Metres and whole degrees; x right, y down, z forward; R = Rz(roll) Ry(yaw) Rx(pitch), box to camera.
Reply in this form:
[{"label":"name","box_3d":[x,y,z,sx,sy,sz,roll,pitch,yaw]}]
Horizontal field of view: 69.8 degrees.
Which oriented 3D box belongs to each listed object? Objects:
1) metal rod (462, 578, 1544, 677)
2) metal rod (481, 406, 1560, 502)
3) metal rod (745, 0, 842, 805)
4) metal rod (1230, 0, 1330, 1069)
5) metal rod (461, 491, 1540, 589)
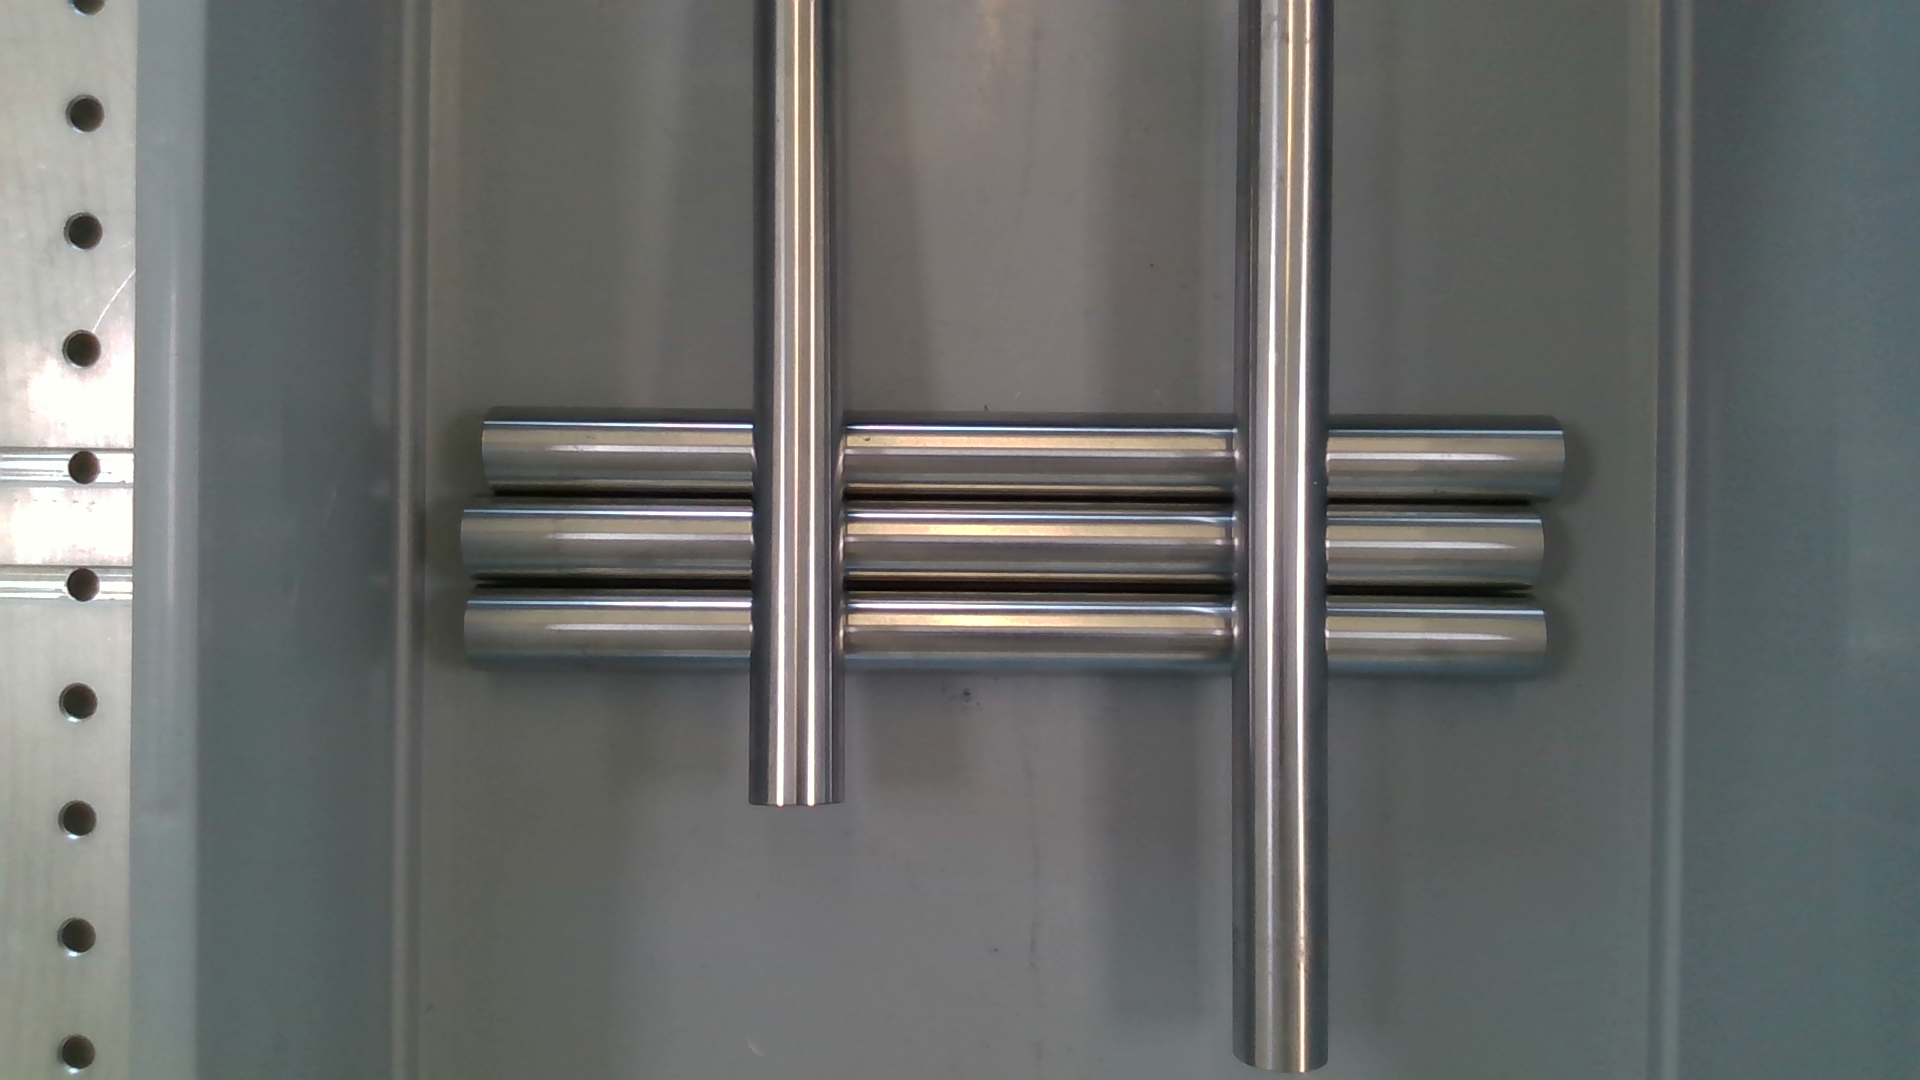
[{"label":"metal rod","box_3d":[0.012,0.025,0.394,0.300,0.025,0.025,1,90,0]},{"label":"metal rod","box_3d":[0.017,-0.025,0.395,0.300,0.025,0.025,0,90,0]},{"label":"metal rod","box_3d":[-0.045,-0.081,0.376,0.025,0.025,0.300,-1,83,0]},{"label":"metal rod","box_3d":[0.086,-0.013,0.369,0.025,0.025,0.300,0,90,0]},{"label":"metal rod","box_3d":[0.011,0.000,0.395,0.300,0.025,0.025,1,90,0]}]
